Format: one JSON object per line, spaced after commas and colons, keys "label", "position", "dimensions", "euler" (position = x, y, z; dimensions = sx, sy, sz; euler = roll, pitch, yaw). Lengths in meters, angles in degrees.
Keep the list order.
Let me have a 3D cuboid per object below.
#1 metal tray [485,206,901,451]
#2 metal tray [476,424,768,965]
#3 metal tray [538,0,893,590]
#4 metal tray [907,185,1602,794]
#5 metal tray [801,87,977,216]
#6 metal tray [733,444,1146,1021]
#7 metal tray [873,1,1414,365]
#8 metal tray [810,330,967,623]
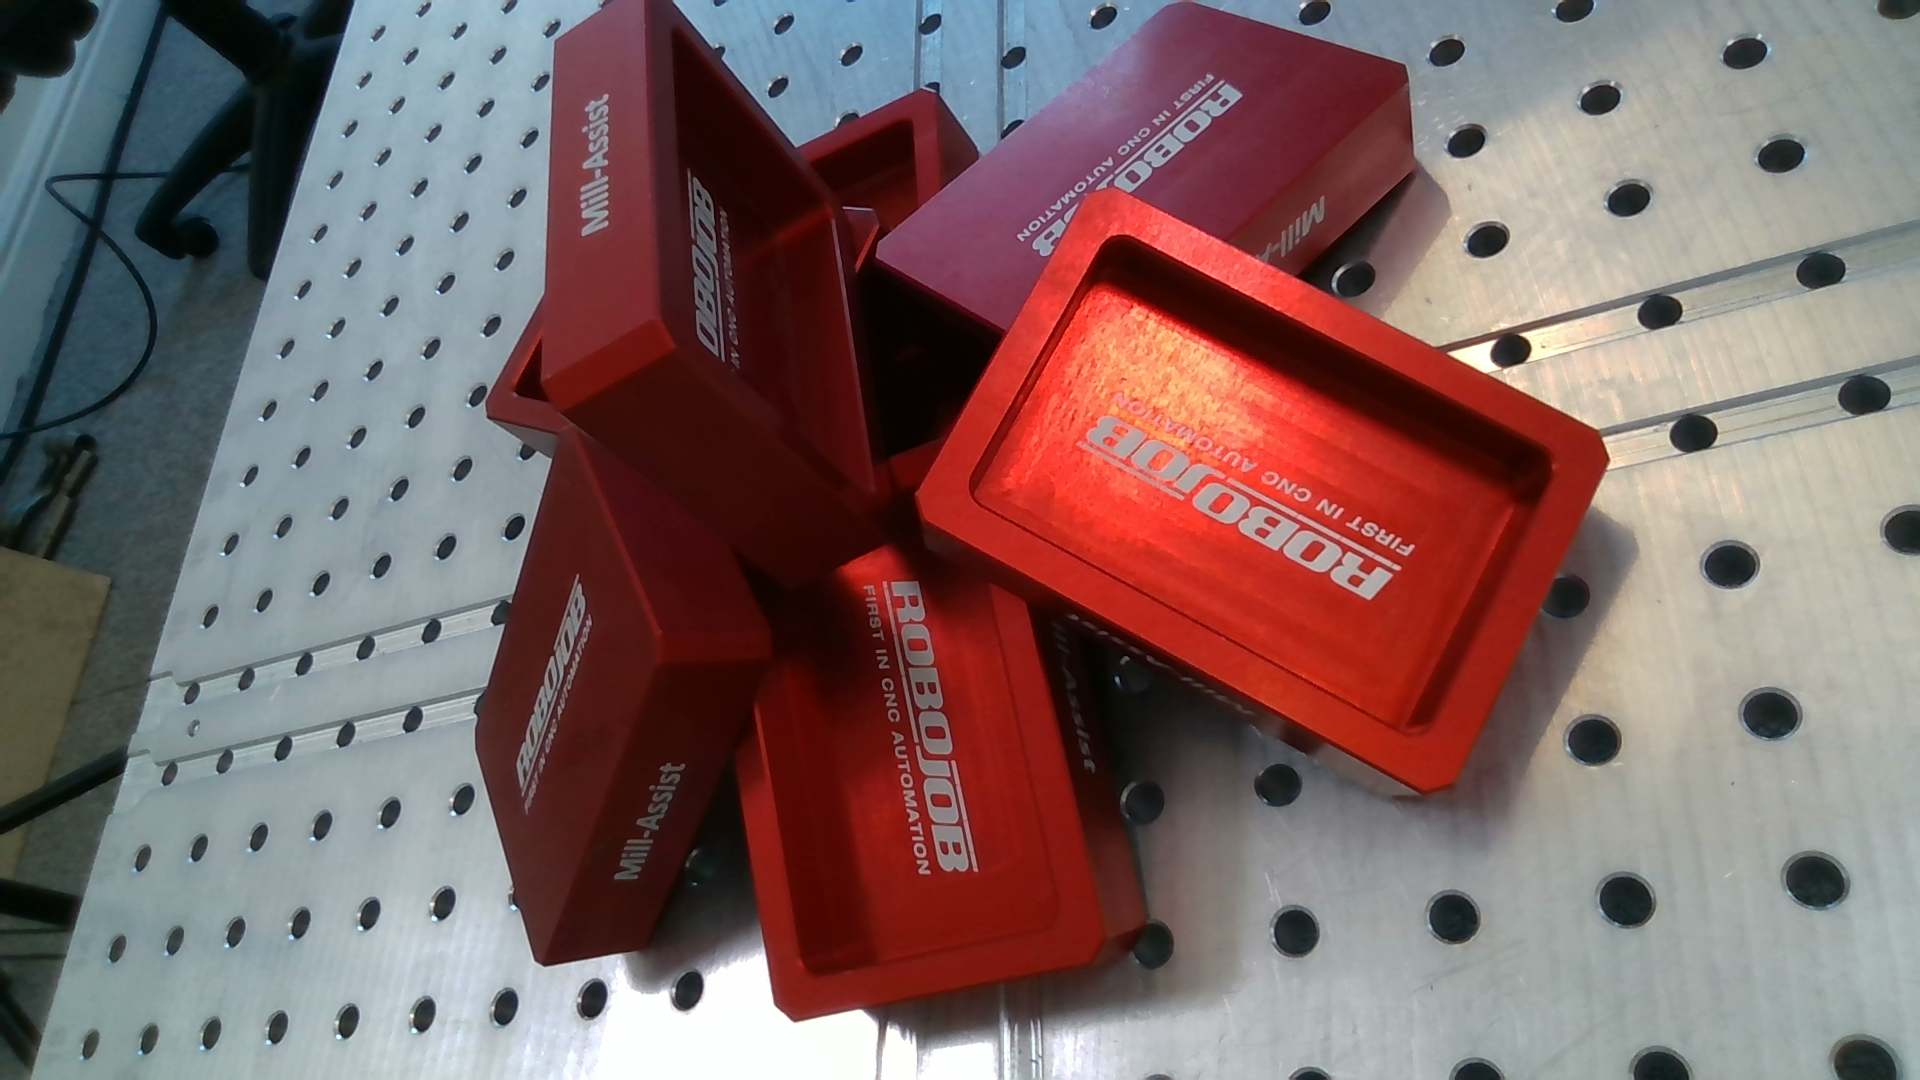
{"label": "metal tray", "position": [-0.084, -0.063, 0.438], "dimensions": [0.130, 0.030, 0.090], "euler": [14, 73, 36]}
{"label": "metal tray", "position": [-0.101, 0.044, 0.388], "dimensions": [0.090, 0.030, 0.130], "euler": [57, 133, 38]}
{"label": "metal tray", "position": [-0.059, -0.063, 0.341], "dimensions": [0.030, 0.090, 0.130], "euler": [-25, 51, 18]}
{"label": "metal tray", "position": [0.065, -0.011, 0.315], "dimensions": [0.130, 0.030, 0.090], "euler": [29, 80, 5]}
{"label": "metal tray", "position": [-0.055, -0.091, 0.475], "dimensions": [0.130, 0.030, 0.090], "euler": [-18, 58, 22]}
{"label": "metal tray", "position": [-0.013, 0.047, 0.352], "dimensions": [0.090, 0.030, 0.130], "euler": [-19, 74, 23]}
{"label": "metal tray", "position": [0.052, -0.096, 0.390], "dimensions": [0.130, 0.030, 0.090], "euler": [-42, 49, -14]}
{"label": "metal tray", "position": [-0.009, -0.019, 0.407], "dimensions": [0.130, 0.030, 0.090], "euler": [-17, 59, 21]}
